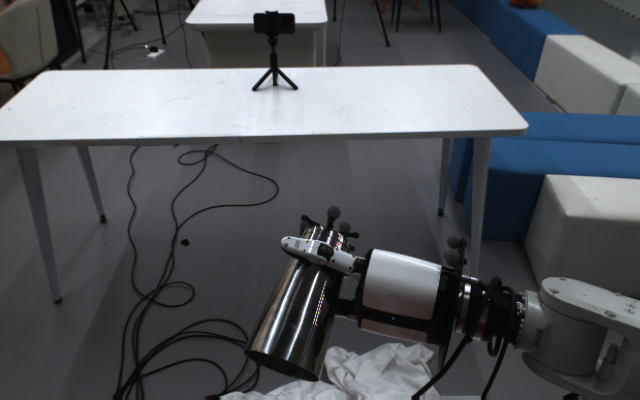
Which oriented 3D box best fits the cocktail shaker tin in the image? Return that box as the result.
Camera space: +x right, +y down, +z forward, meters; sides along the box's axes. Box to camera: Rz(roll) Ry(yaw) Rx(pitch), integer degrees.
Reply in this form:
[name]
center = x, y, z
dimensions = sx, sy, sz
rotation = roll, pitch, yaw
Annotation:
[cocktail shaker tin]
center = -0.018, 0.118, 0.592
dimensions = 0.093, 0.093, 0.170
rotation = 13, 59, 15
